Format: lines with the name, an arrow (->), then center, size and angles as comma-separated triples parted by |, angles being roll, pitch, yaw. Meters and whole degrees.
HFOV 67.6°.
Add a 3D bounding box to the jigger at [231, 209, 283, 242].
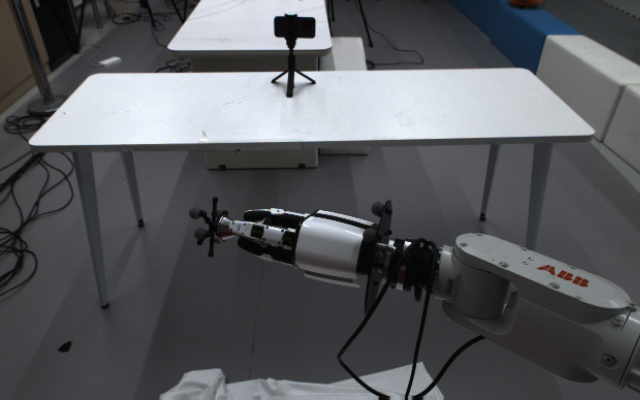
jigger -> -0.101, 0.039, 0.701 | 0.071, 0.043, 0.043 | 3, 34, 15
